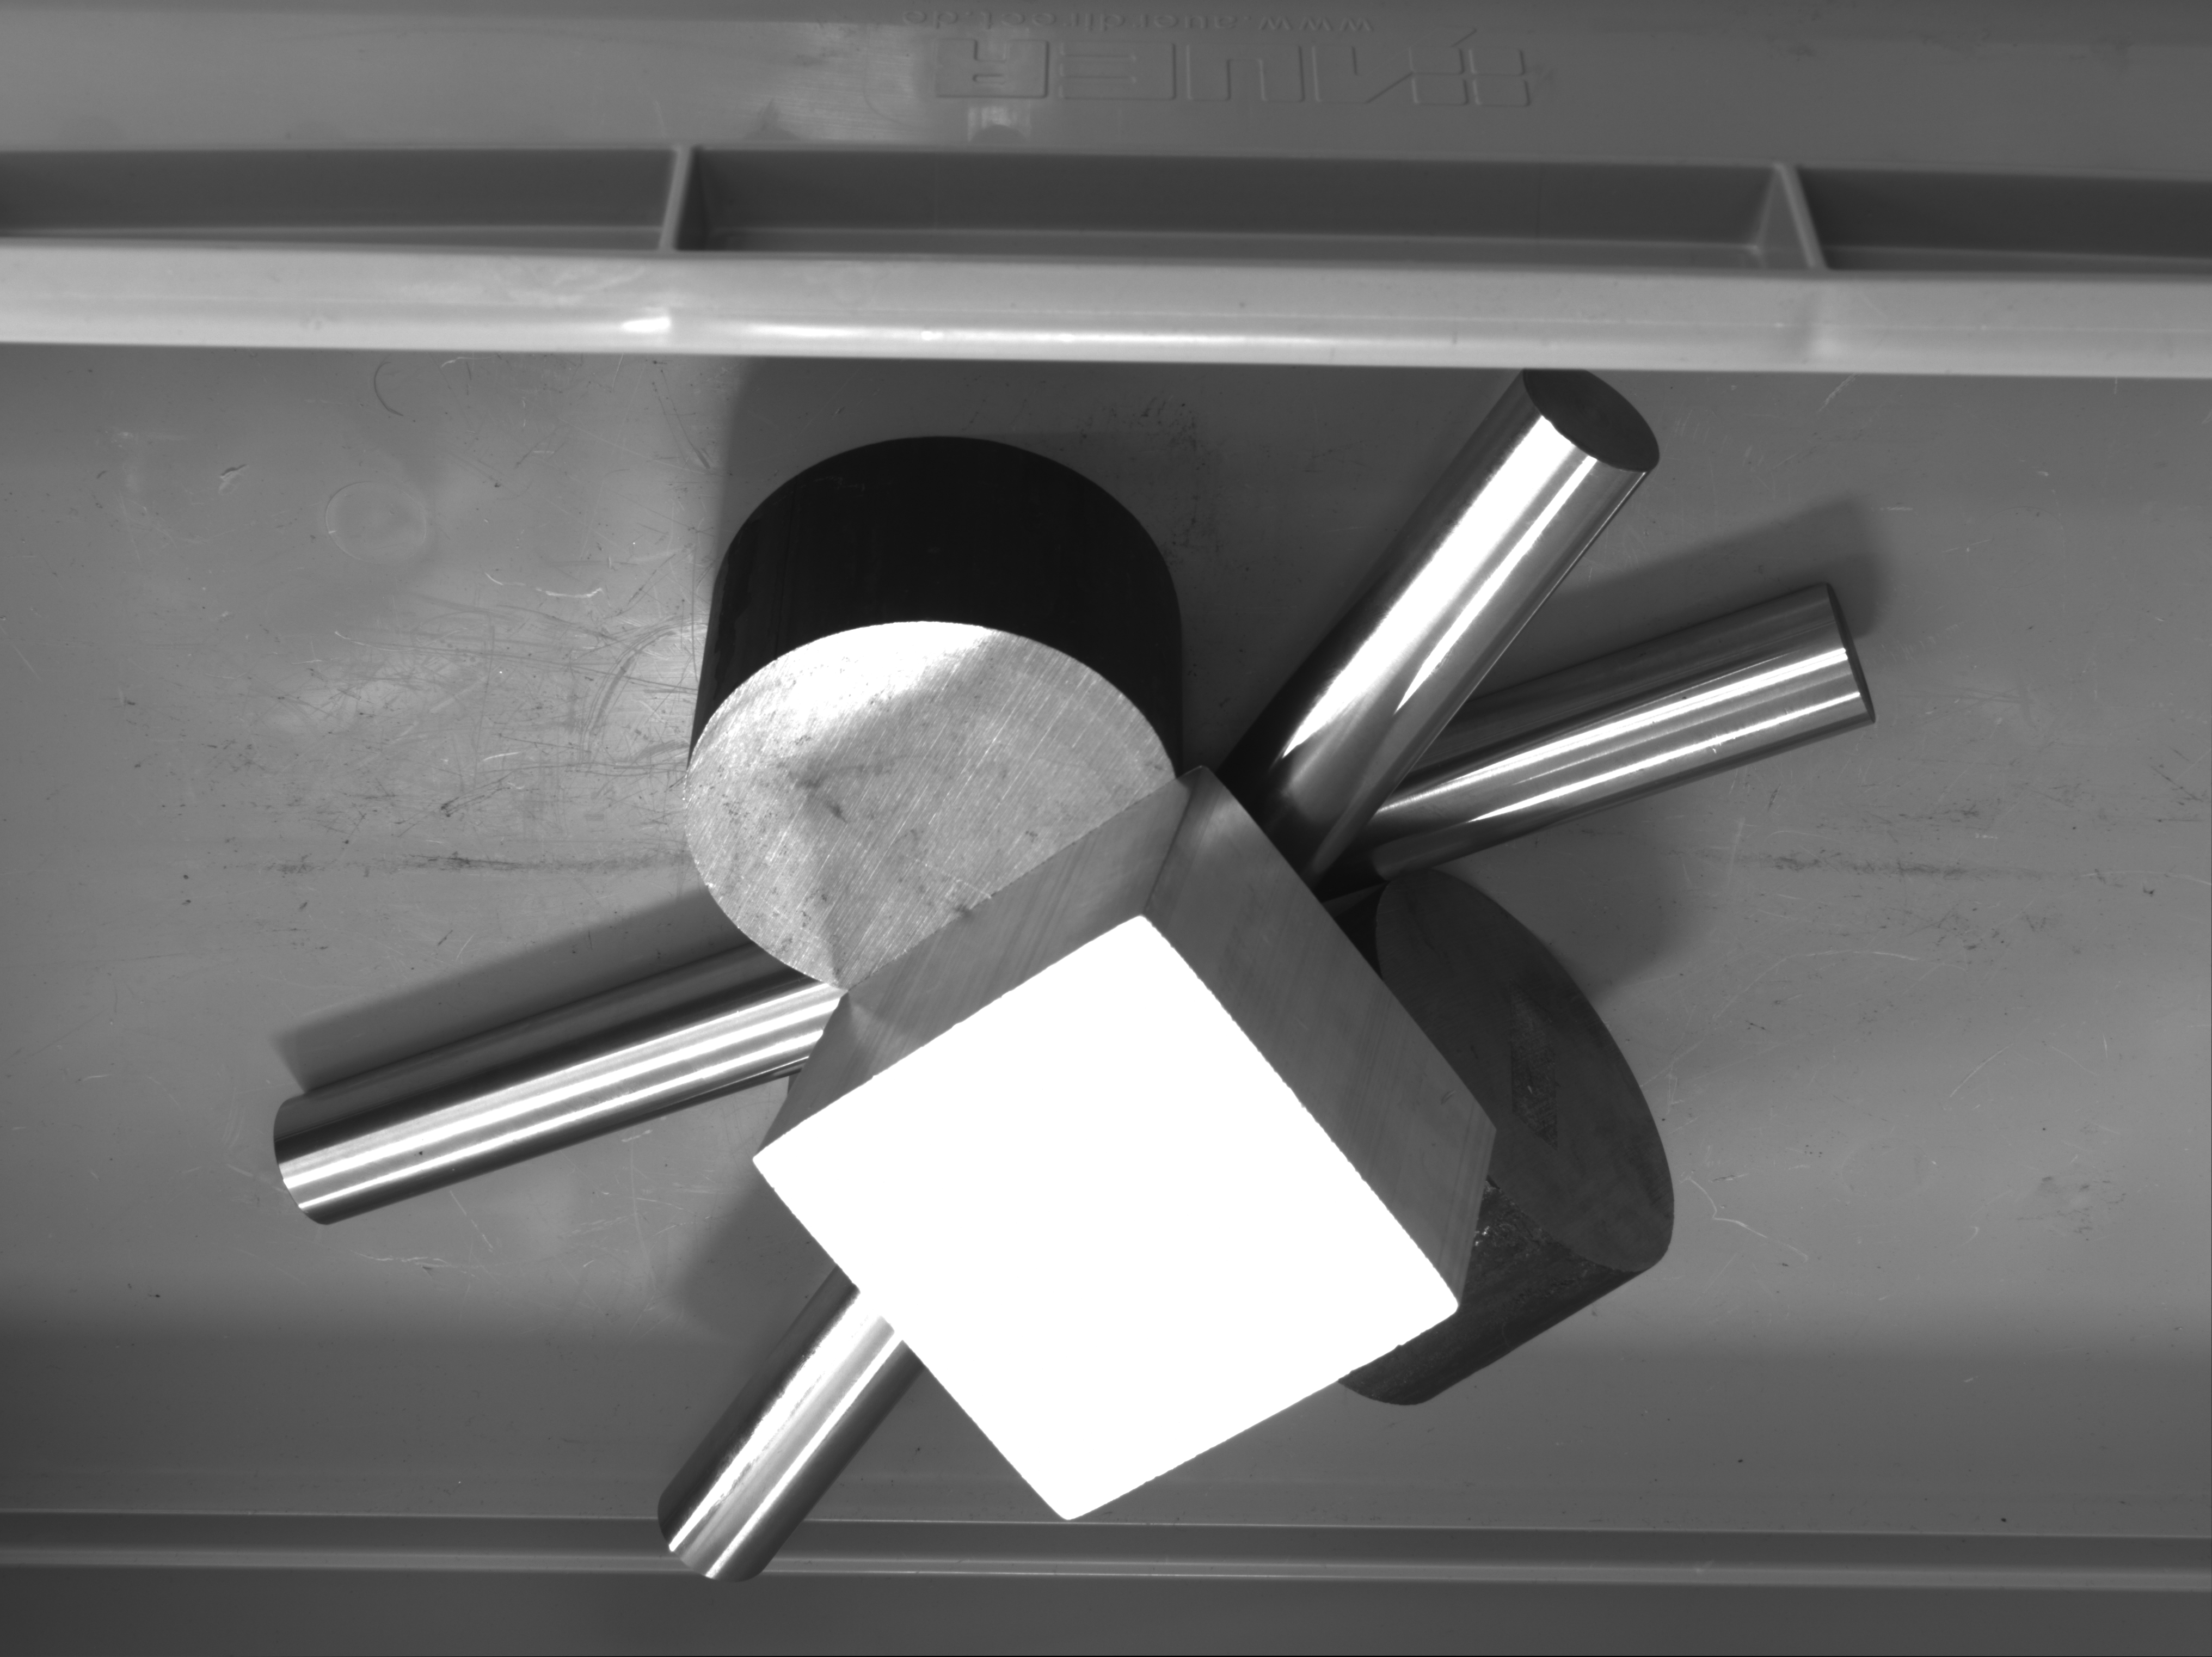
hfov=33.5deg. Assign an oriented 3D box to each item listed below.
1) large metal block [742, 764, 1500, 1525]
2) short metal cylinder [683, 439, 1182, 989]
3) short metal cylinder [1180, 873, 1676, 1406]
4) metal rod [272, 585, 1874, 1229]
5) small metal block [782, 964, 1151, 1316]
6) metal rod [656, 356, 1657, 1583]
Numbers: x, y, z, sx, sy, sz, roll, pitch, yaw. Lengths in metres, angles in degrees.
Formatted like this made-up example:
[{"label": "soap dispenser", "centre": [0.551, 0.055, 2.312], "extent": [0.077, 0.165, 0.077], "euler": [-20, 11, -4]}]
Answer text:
[{"label": "large metal block", "centre": [0.004, 0.051, 0.582], "extent": [0.080, 0.050, 0.080], "euler": [-32, 106, 25]}, {"label": "short metal cylinder", "centre": [-0.028, -0.017, 0.607], "extent": [0.080, 0.050, 0.080], "euler": [0, 130, 0]}, {"label": "short metal cylinder", "centre": [0.056, 0.055, 0.649], "extent": [0.050, 0.080, 0.080], "euler": [-35, 122, 27]}, {"label": "metal rod", "centre": [-0.013, 0.017, 0.652], "extent": [0.300, 0.025, 0.025], "euler": [-19, 127, 15]}, {"label": "small metal block", "centre": [-0.025, 0.059, 0.687], "extent": [0.050, 0.025, 0.050], "euler": [-22, 126, 18]}, {"label": "metal rod", "centre": [-0.002, 0.037, 0.637], "extent": [0.025, 0.025, 0.300], "euler": [24, 126, -19]}]
